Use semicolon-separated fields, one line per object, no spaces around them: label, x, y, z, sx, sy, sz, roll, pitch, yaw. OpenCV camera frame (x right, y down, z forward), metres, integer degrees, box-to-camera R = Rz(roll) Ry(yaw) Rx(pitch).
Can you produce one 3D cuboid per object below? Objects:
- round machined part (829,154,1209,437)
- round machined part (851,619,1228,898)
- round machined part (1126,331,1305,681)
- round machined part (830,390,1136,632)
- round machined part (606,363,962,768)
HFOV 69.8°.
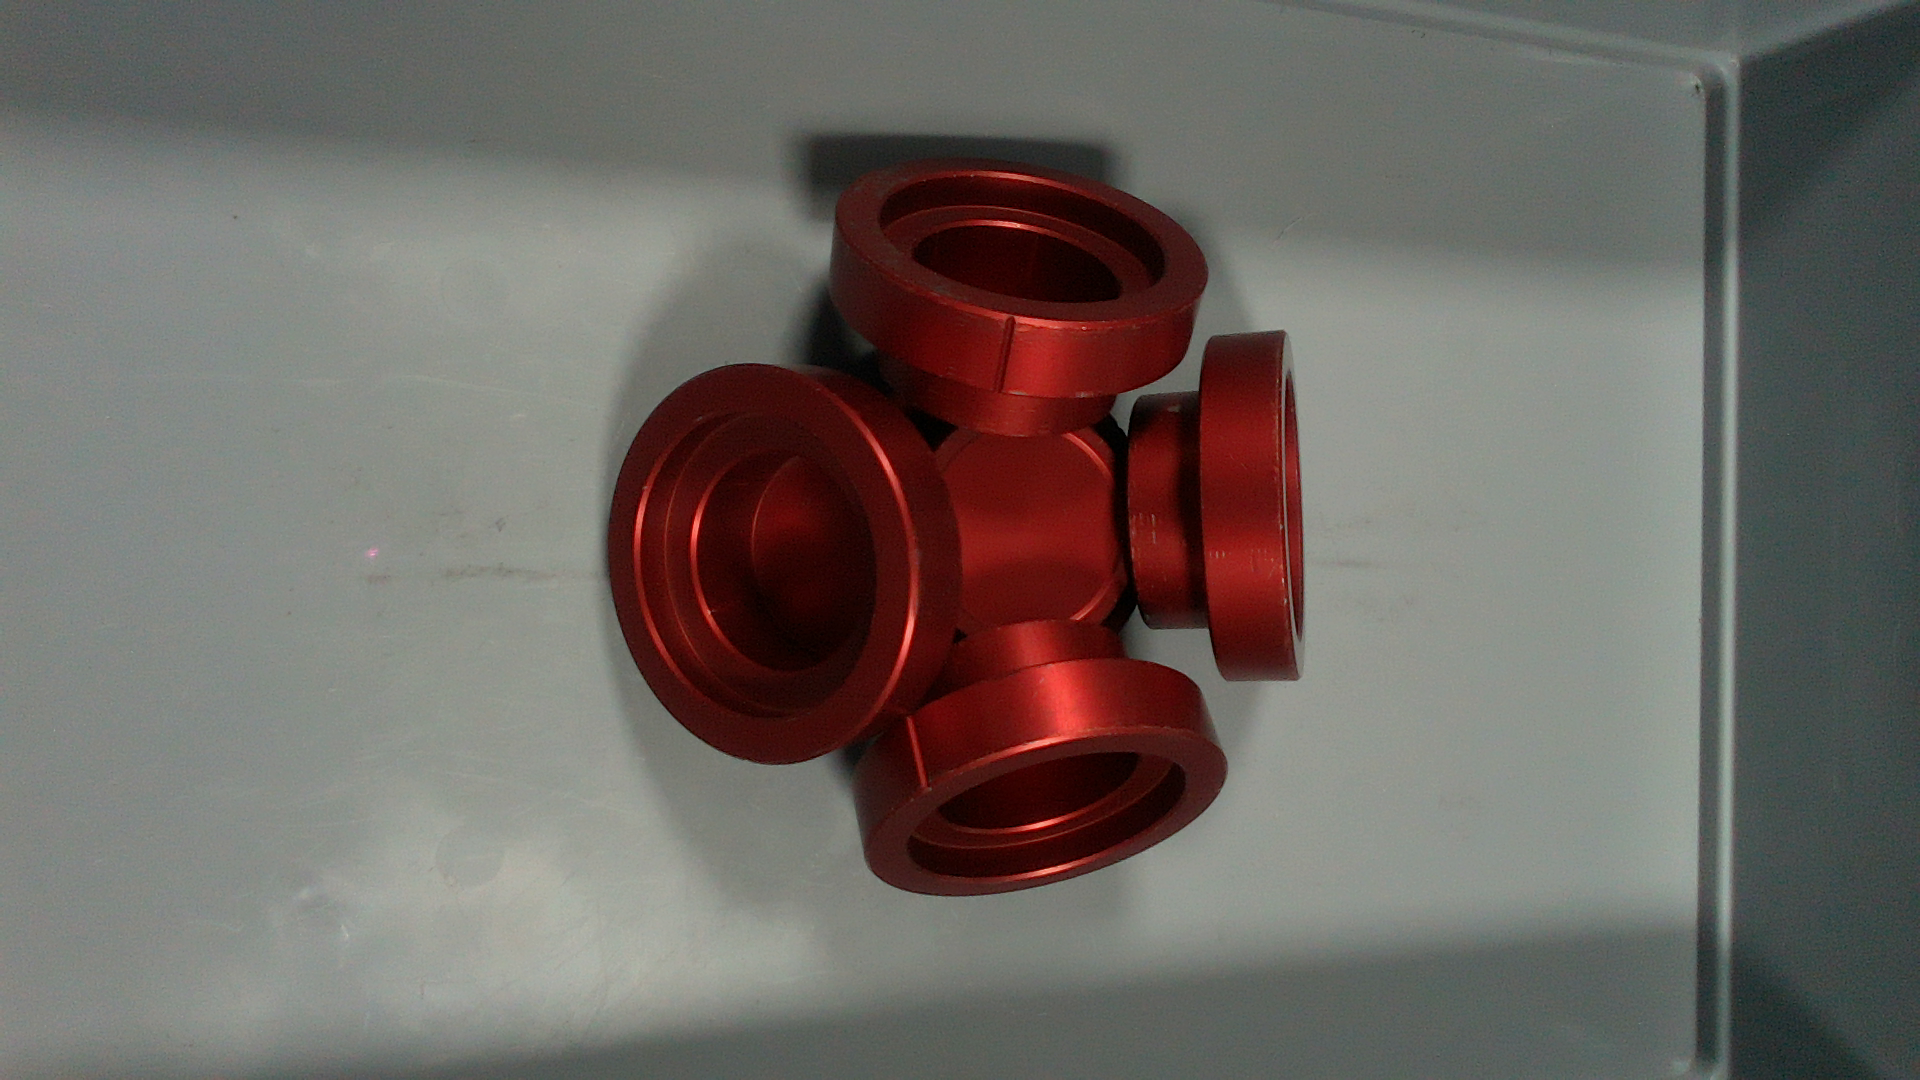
round machined part;0.013;-0.063;0.368;0.098;0.098;0.042;-4;129;-20
round machined part;0.019;0.057;0.370;0.098;0.098;0.042;-2;54;-20
round machined part;0.074;-0.009;0.391;0.042;0.098;0.098;-2;91;16
round machined part;0.011;-0.003;0.387;0.098;0.042;0.098;0;90;-20
round machined part;-0.040;0.005;0.349;0.042;0.098;0.098;-10;94;-57
